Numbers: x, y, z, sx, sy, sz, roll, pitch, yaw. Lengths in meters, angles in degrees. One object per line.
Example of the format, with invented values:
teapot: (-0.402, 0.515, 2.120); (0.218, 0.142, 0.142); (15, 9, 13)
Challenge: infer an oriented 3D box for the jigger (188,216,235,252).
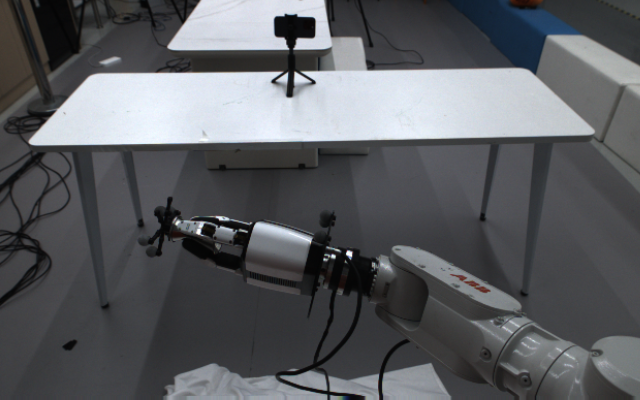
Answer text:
jigger: (-0.171, 0.047, 0.701); (0.071, 0.043, 0.043); (13, 36, 4)
